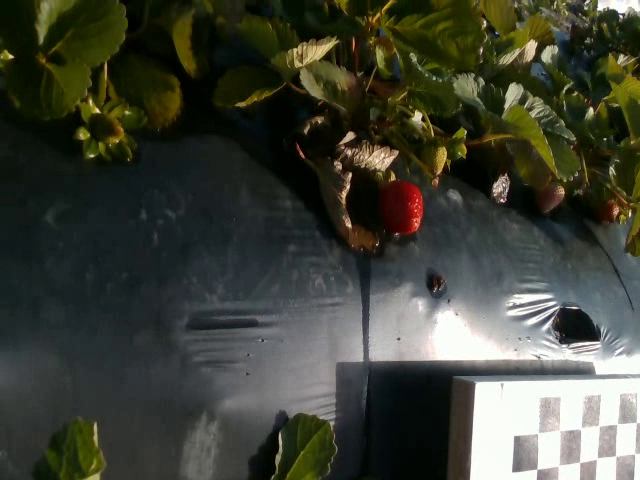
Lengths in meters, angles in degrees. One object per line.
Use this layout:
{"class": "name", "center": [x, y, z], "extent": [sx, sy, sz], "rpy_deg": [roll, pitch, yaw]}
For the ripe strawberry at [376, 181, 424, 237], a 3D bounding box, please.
{"class": "ripe strawberry", "center": [0.053, -0.014, 0.388], "extent": [0.046, 0.037, 0.054], "rpy_deg": [33, 26, -31]}
